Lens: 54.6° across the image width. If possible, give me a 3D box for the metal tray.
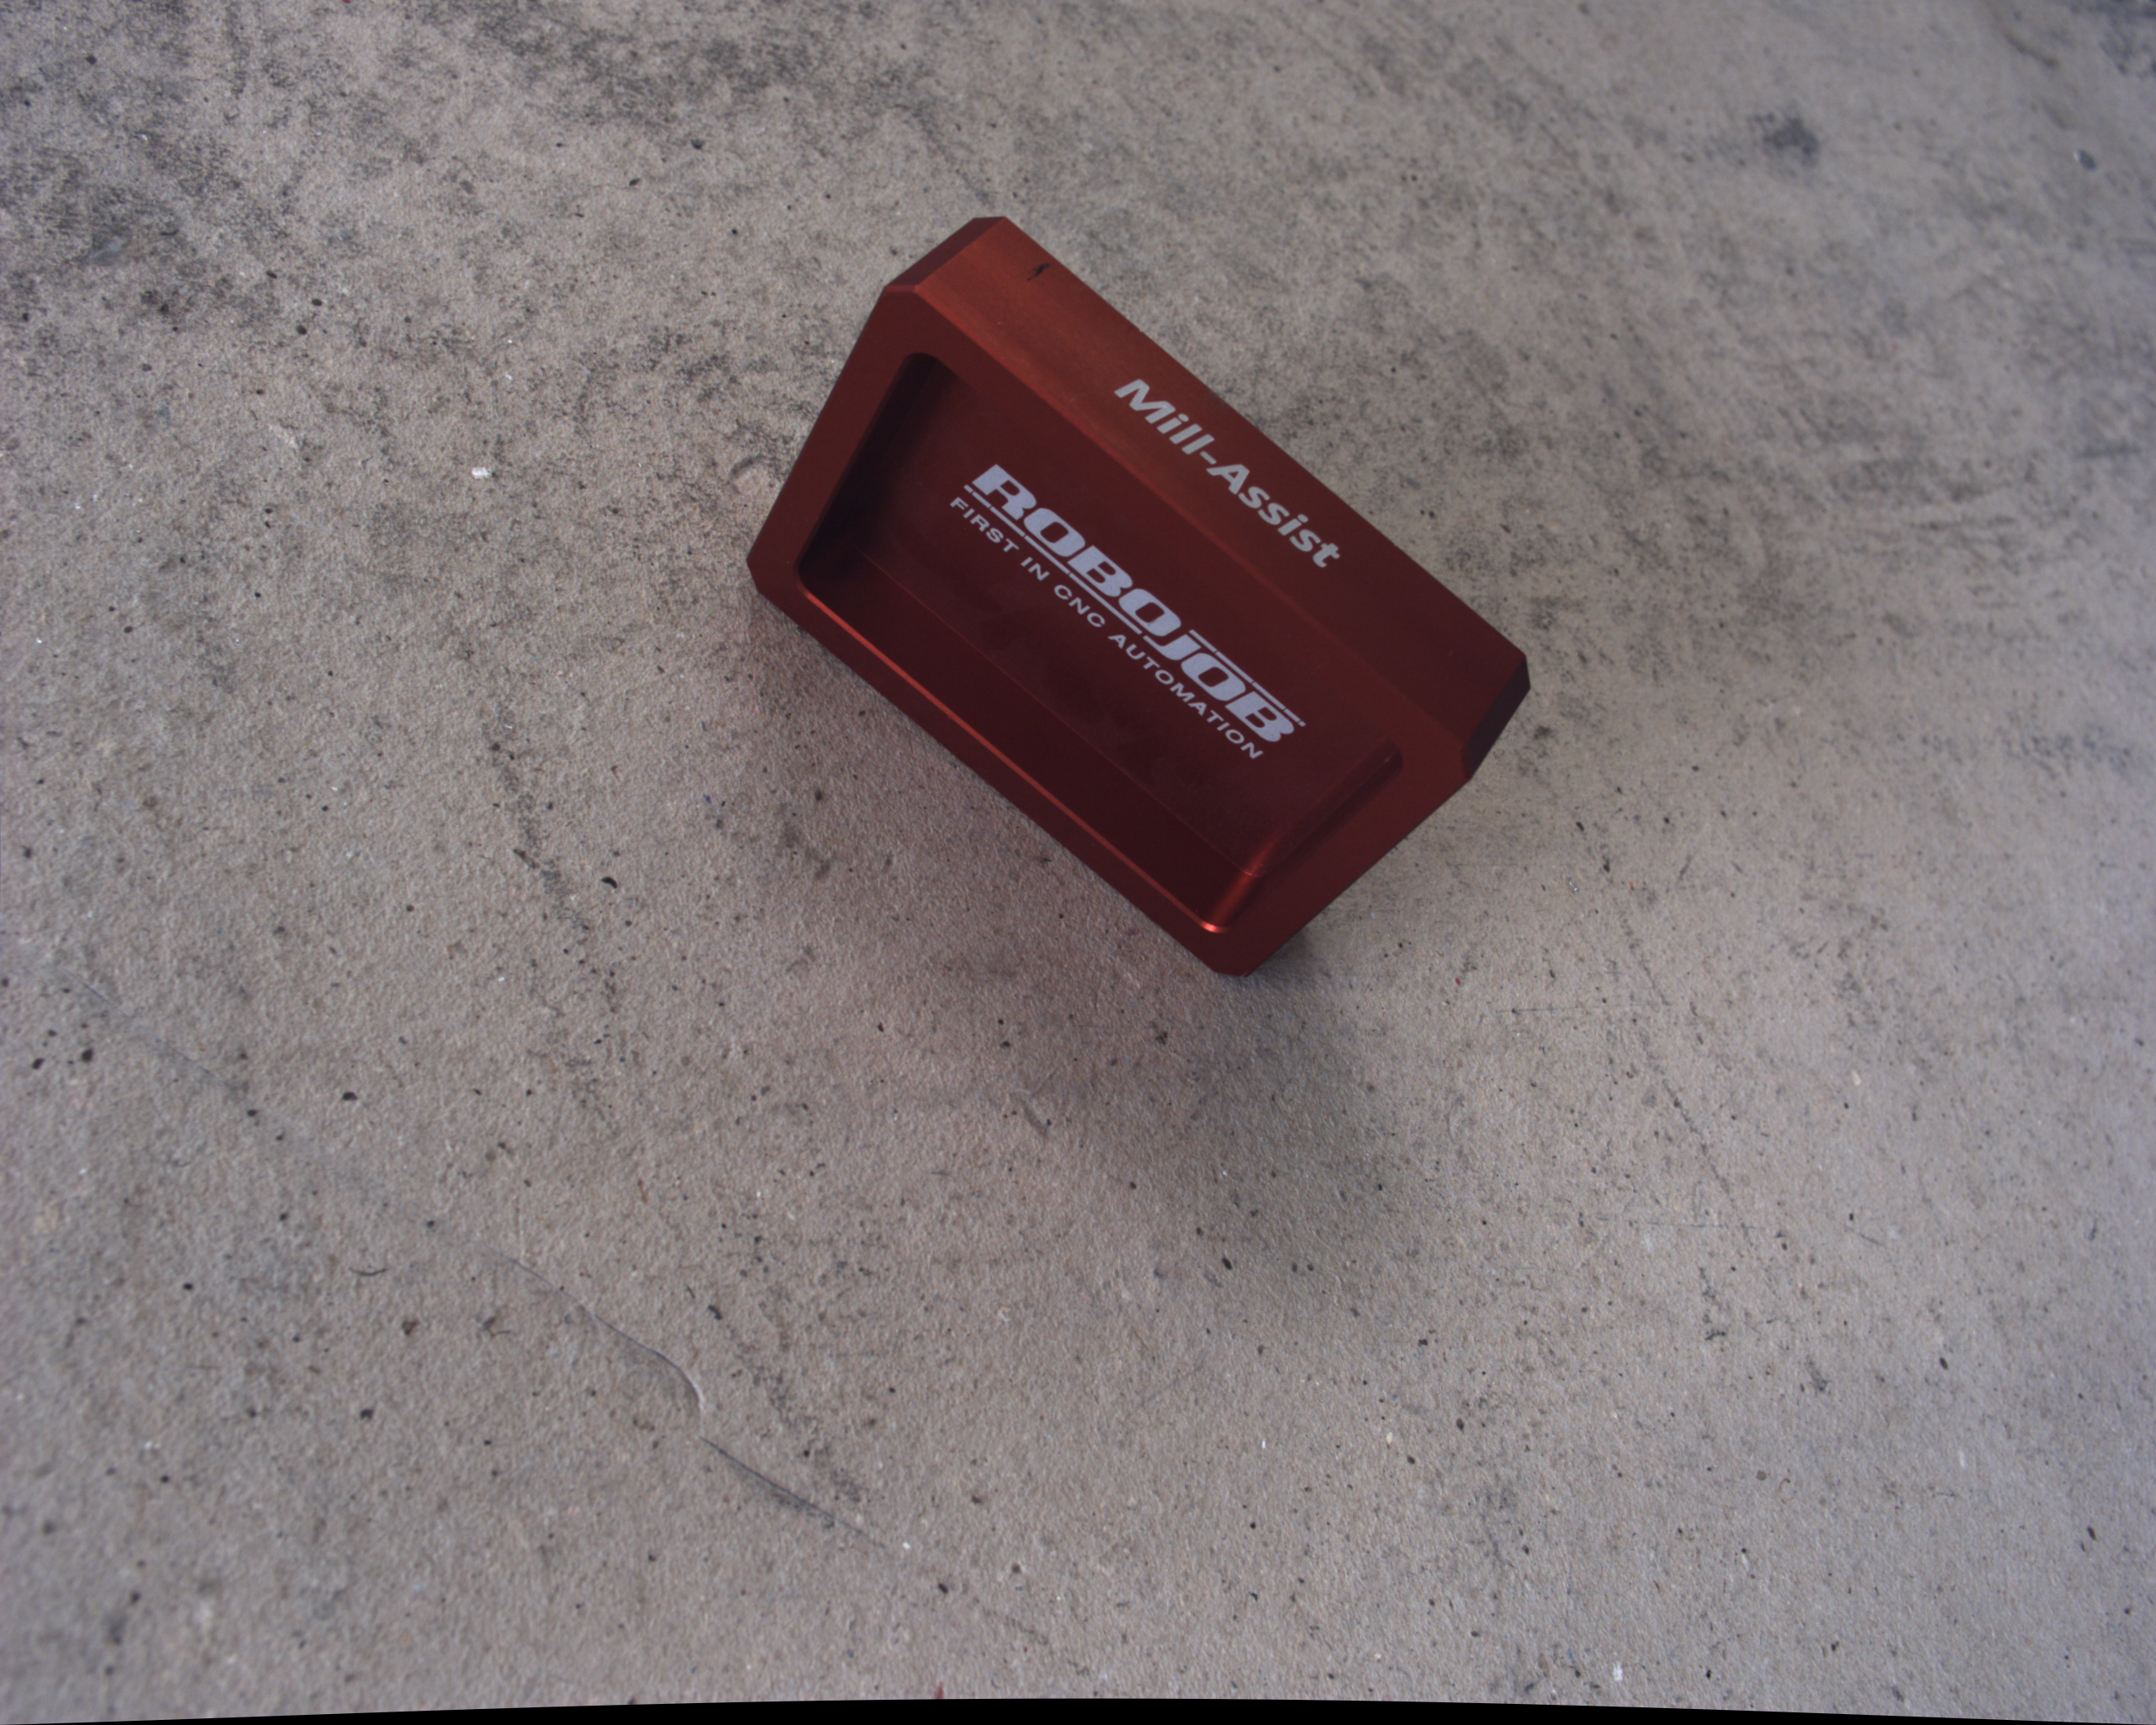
[{"bbox_3d":[0.008,-0.046,0.395,0.130,0.090,0.030,40,51,-2],"label":"metal tray"}]
